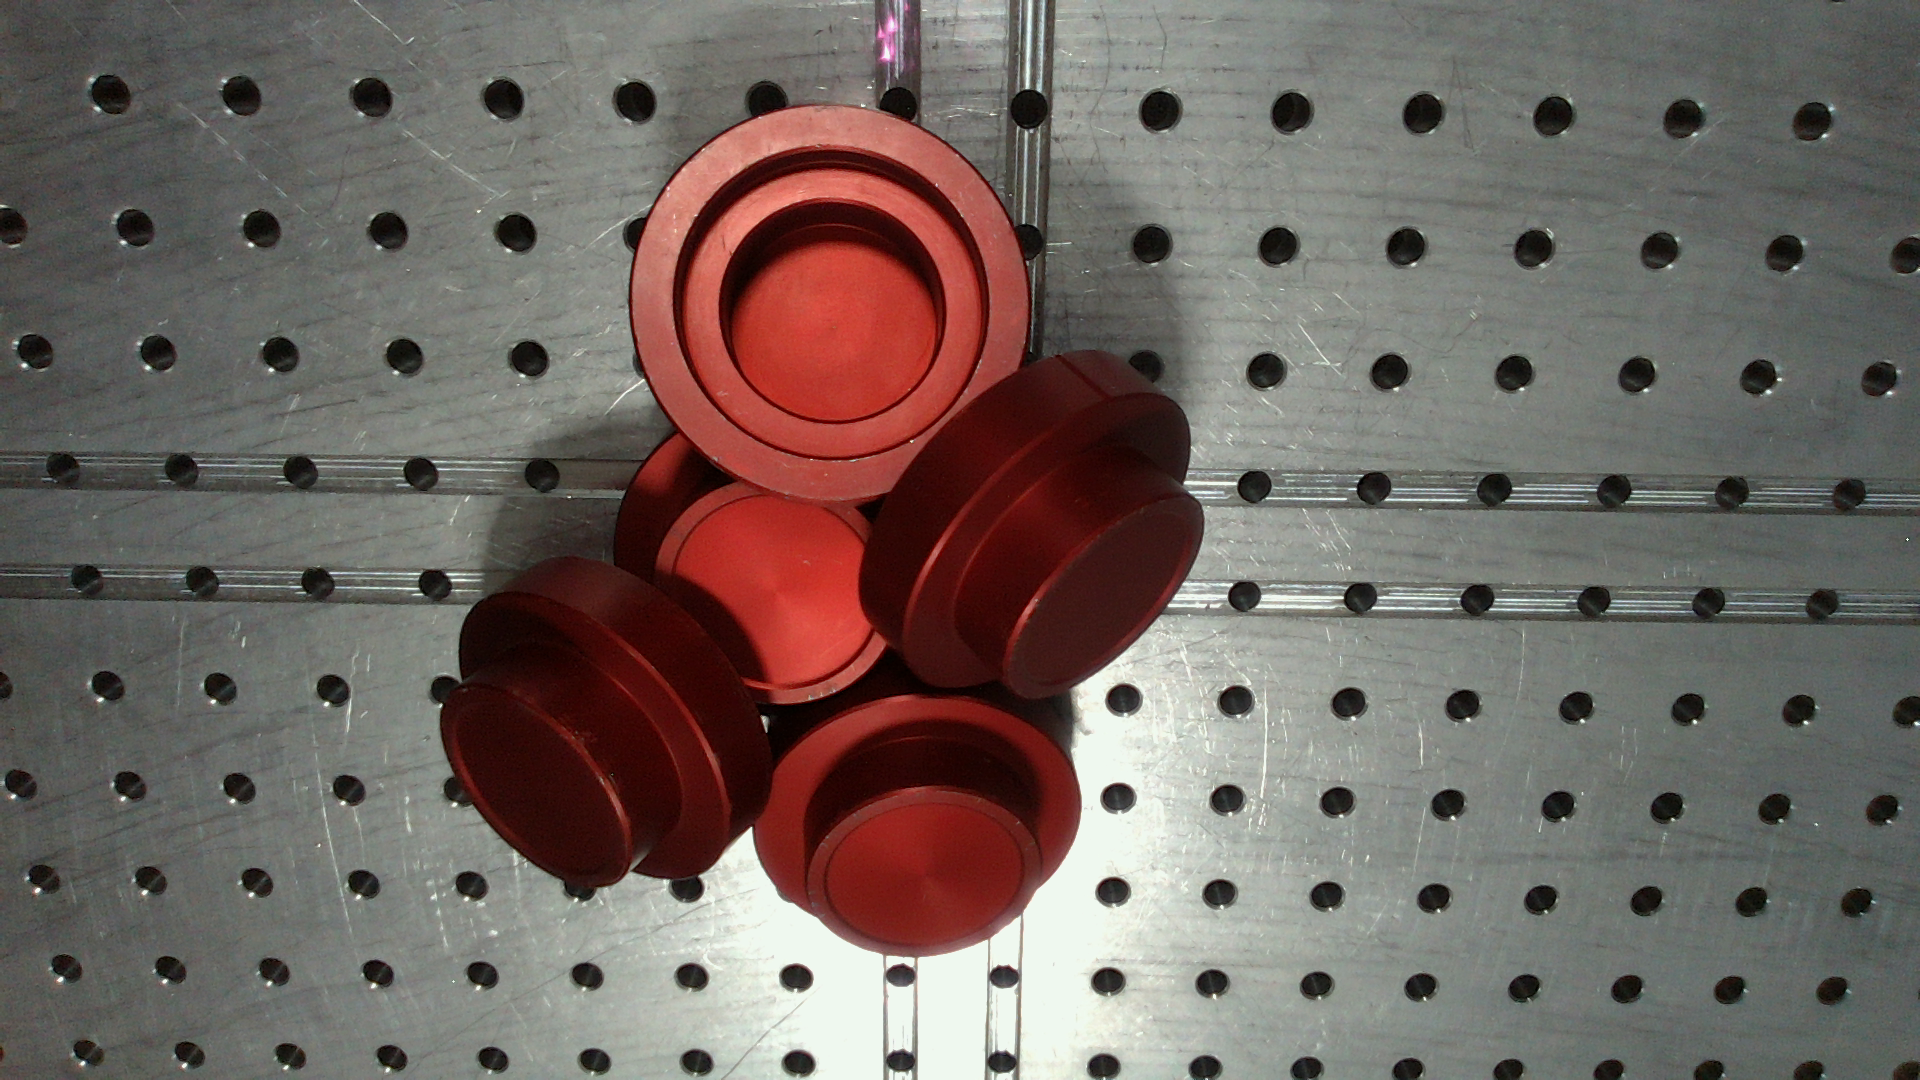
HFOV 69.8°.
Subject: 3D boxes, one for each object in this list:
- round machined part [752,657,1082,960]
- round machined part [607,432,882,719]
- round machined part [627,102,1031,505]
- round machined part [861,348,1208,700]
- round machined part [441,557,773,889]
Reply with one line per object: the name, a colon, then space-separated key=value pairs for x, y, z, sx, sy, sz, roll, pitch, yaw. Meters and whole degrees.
round machined part: x=-0.012 y=0.085 z=0.405 sx=0.098 sy=0.042 sz=0.098 roll=-3 pitch=122 yaw=-5
round machined part: x=-0.051 y=0.008 z=0.389 sx=0.098 sy=0.042 sz=0.098 roll=0 pitch=110 yaw=0
round machined part: x=-0.033 y=-0.057 z=0.354 sx=0.098 sy=0.042 sz=0.098 roll=0 pitch=89 yaw=-5
round machined part: x=0.026 y=0.003 z=0.357 sx=0.042 sy=0.098 sz=0.098 roll=45 pitch=109 yaw=28
round machined part: x=-0.104 y=0.057 z=0.383 sx=0.098 sy=0.042 sz=0.098 roll=18 pitch=128 yaw=24
